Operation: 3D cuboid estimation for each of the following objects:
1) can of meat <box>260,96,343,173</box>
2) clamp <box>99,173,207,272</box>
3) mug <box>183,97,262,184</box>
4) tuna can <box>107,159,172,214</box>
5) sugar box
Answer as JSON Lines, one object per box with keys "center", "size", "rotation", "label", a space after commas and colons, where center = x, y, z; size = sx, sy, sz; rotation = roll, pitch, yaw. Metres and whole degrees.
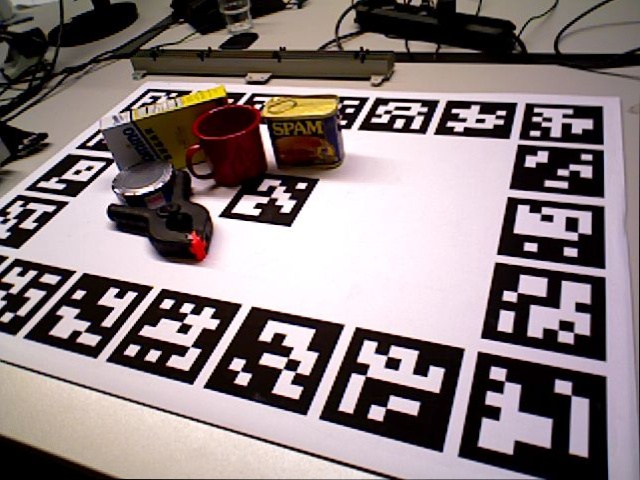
{"center": [-0.021, -0.137, 0.715], "size": [0.102, 0.085, 0.056], "rotation": [3, 42, 14], "label": "can of meat"}
{"center": [-0.188, -0.018, 0.661], "size": [0.120, 0.037, 0.164], "rotation": [-27, 48, -22], "label": "clamp"}
{"center": [-0.132, -0.123, 0.714], "size": [0.115, 0.083, 0.093], "rotation": [-39, 49, -25], "label": "mug"}
{"center": [-0.242, -0.069, 0.721], "size": [0.086, 0.034, 0.084], "rotation": [-8, 44, 6], "label": "tuna can"}
{"center": [-0.212, -0.143, 0.760], "size": [0.175, 0.094, 0.045], "rotation": [-17, 41, -7], "label": "sugar box"}
